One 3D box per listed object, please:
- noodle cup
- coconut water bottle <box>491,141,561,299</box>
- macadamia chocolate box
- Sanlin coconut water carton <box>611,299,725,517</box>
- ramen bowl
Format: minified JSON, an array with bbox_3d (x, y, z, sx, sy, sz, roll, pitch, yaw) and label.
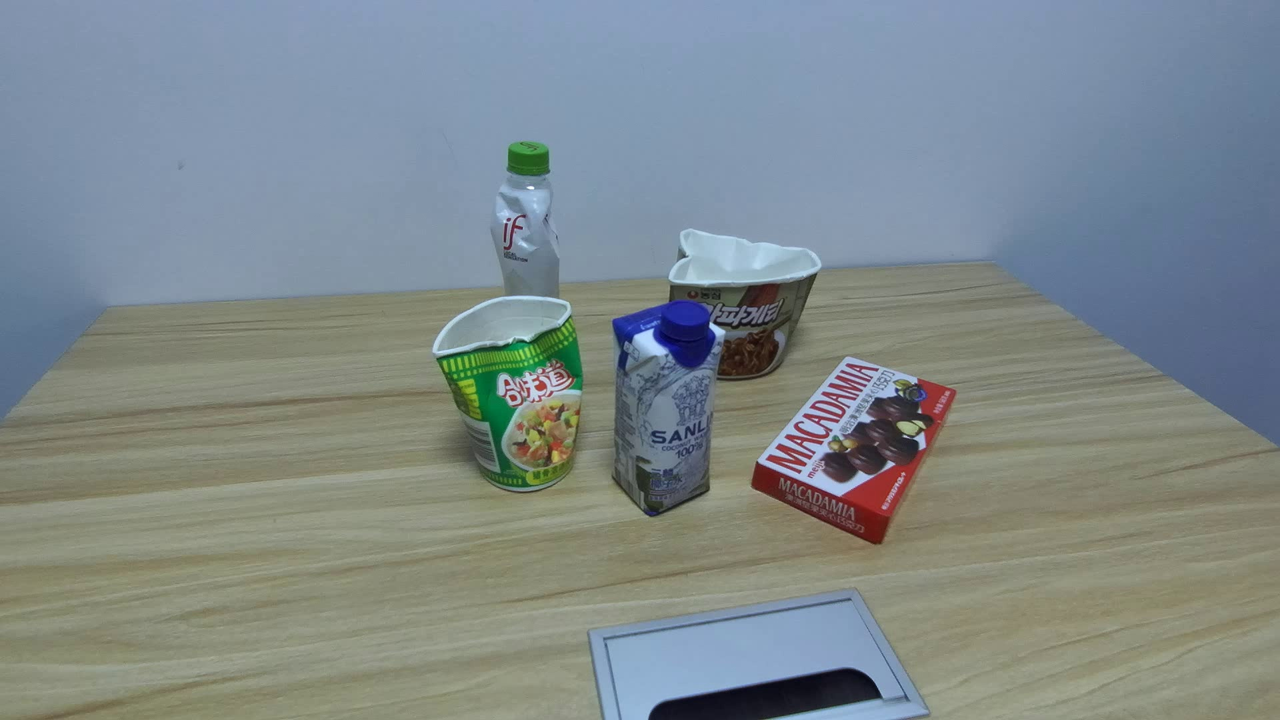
[{"bbox_3d":[-0.079,0.024,0.483,0.083,0.122,0.075,-9,25,0],"label":"noodle cup"},{"bbox_3d":[-0.088,-0.077,0.576,0.067,0.187,0.067,1,25,0],"label":"coconut water bottle"},{"bbox_3d":[0.165,0.057,0.528,0.095,0.027,0.178,22,37,28],"label":"macadamia chocolate box"},{"bbox_3d":[0.016,0.026,0.453,0.061,0.144,0.060,-19,36,-30],"label":"Sanlin coconut water carton"},{"bbox_3d":[0.089,-0.051,0.626,0.134,0.097,0.113,3,32,1],"label":"ramen bowl"}]
